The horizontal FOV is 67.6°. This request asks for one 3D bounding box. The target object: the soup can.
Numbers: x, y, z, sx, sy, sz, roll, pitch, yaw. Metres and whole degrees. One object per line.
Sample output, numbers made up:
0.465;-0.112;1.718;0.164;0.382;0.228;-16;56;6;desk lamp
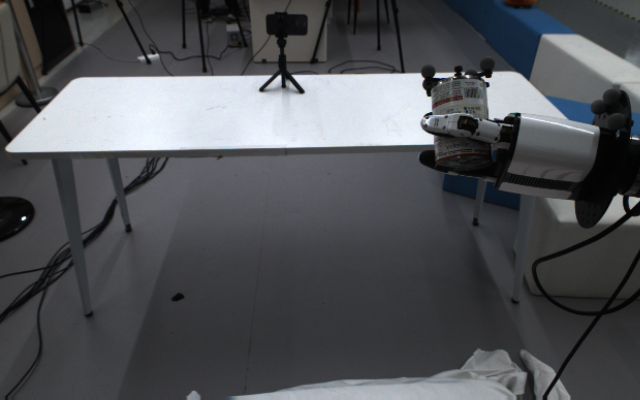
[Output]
0.174;-0.092;0.590;0.067;0.101;0.067;-1;-9;0;soup can
